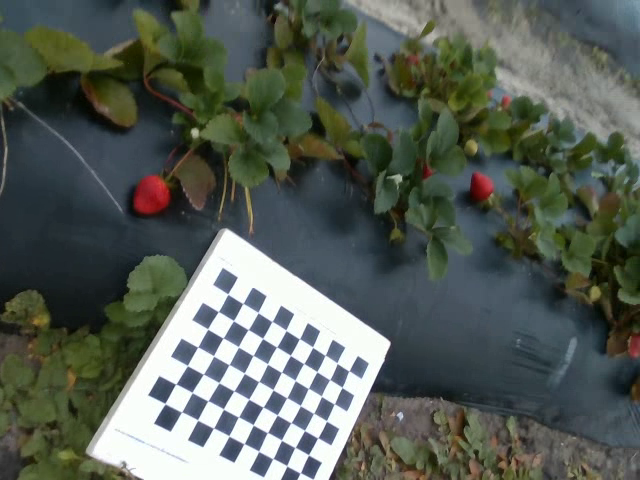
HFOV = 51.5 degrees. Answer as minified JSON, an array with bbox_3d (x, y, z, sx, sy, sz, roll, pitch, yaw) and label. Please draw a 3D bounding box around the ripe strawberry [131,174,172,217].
[{"bbox_3d":[-0.122,-0.031,0.464,0.033,0.029,0.022,-49,20,-25],"label":"ripe strawberry"}]
